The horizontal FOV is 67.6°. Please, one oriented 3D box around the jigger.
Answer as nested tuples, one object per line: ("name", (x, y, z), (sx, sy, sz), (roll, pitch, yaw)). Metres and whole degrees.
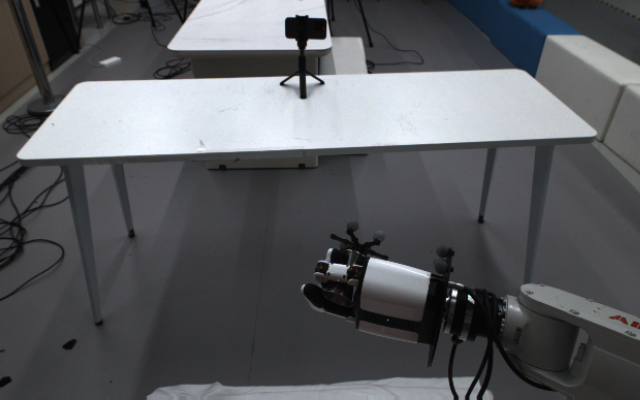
("jigger", (0.038, 0.105, 0.671), (0.043, 0.043, 0.071), (15, 58, 18))
